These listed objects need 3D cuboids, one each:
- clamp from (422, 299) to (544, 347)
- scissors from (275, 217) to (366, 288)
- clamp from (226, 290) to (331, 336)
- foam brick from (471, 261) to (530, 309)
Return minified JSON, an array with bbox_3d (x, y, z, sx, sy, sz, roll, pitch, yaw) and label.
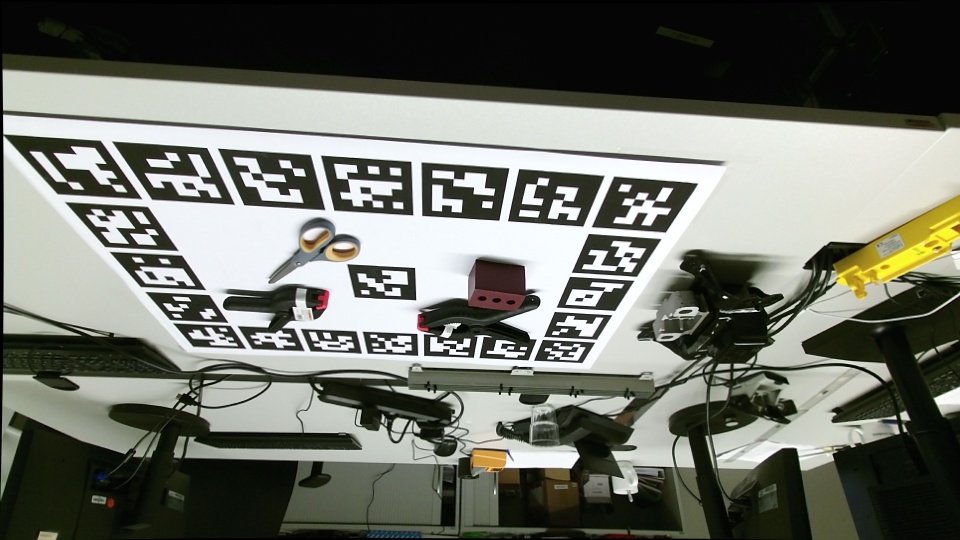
[{"bbox_3d":[0.001,0.096,0.928,0.203,0.036,0.165,1,148,0],"label":"clamp"},{"bbox_3d":[-0.249,-0.011,0.788,0.088,0.016,0.203,35,134,-29],"label":"scissors"},{"bbox_3d":[-0.324,0.071,0.901,0.165,0.036,0.122,-14,136,18],"label":"clamp"},{"bbox_3d":[0.030,0.023,0.815,0.078,0.051,0.053,4,144,-13],"label":"foam brick"}]
